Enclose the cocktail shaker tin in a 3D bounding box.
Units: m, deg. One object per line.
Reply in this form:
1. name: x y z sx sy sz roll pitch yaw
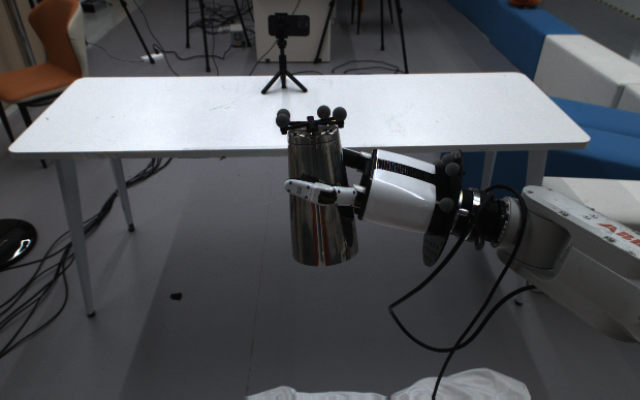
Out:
1. cocktail shaker tin: 0.000 -0.009 0.639 0.093 0.170 0.093 -6 19 2
